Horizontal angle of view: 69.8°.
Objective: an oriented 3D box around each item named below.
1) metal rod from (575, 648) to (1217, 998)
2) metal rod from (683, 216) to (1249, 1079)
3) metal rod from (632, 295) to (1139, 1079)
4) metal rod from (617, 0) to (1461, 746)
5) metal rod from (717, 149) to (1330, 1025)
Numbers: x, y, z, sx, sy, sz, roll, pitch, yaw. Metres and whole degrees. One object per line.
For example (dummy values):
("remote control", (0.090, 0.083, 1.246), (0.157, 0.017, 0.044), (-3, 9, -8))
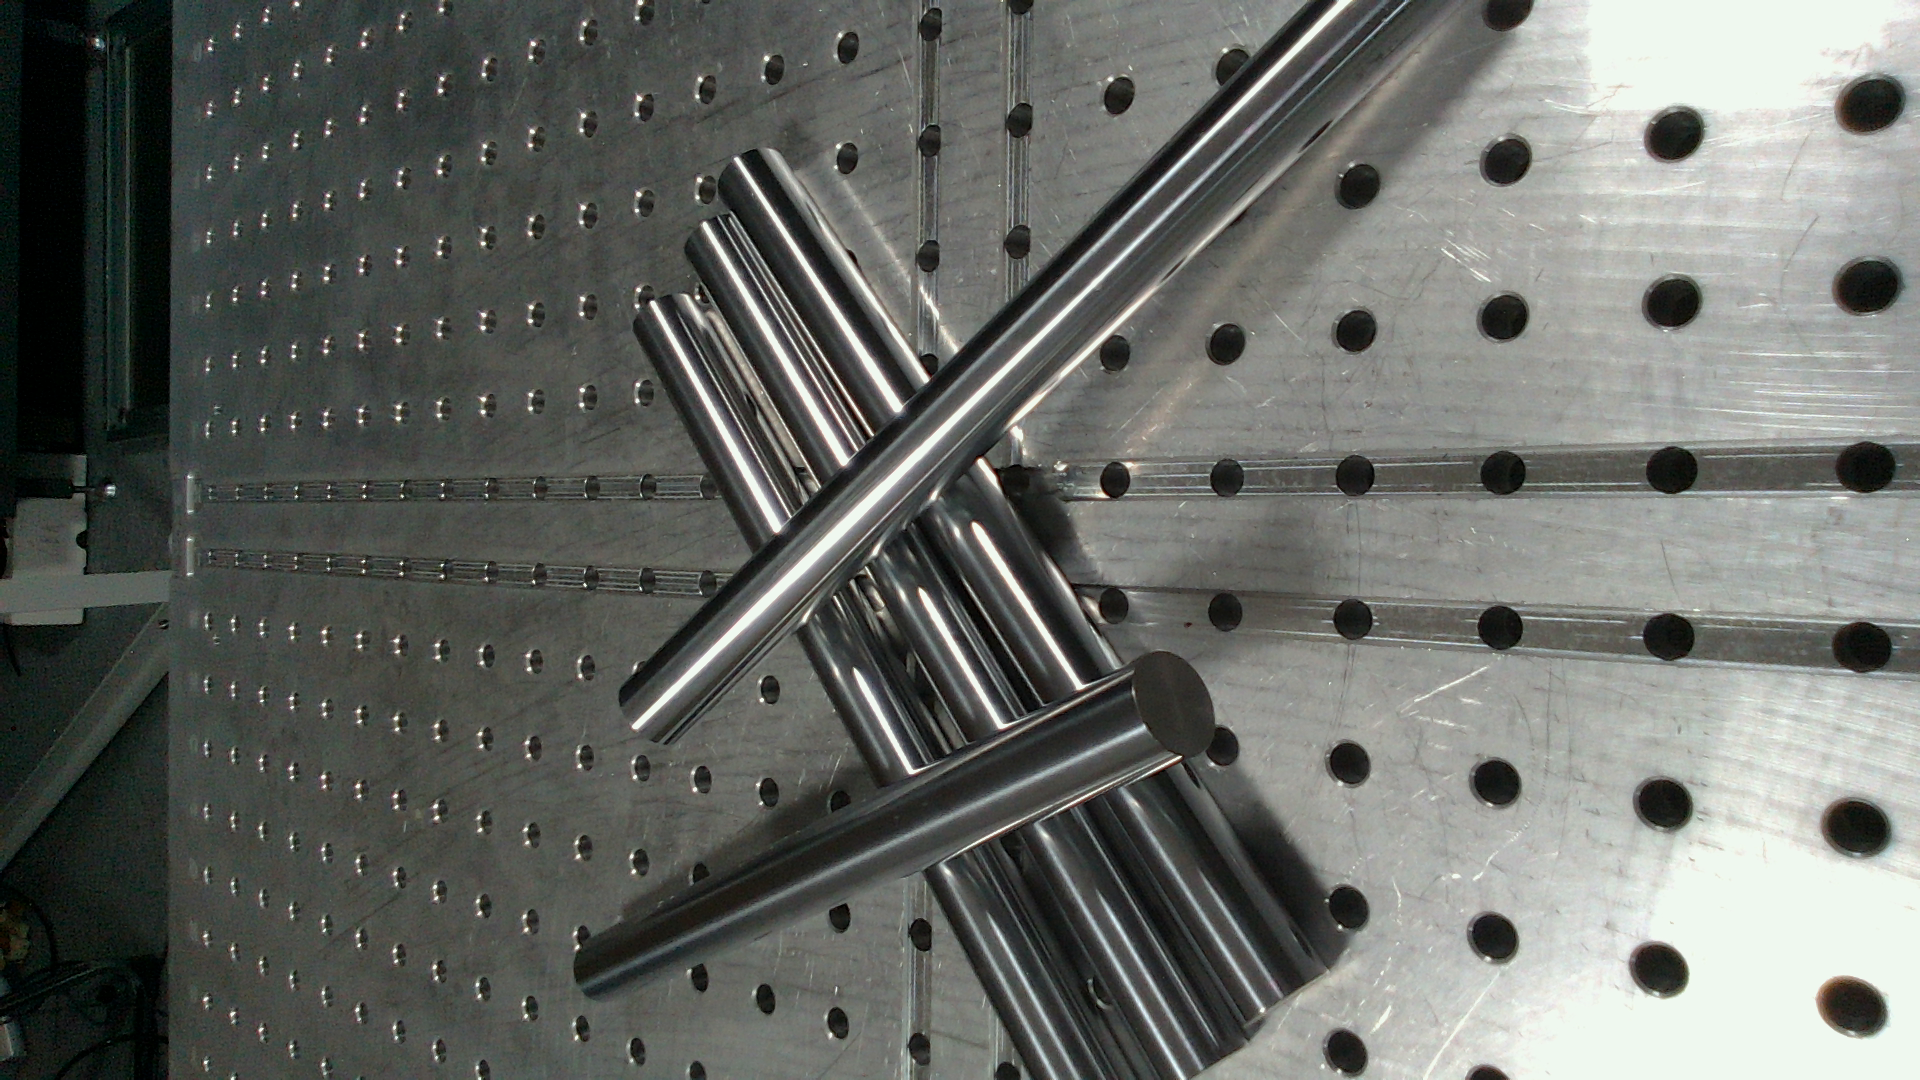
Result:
("metal rod", (-0.041, 0.096, 0.406), (0.299, 0.025, 0.025), (-34, 68, 44))
("metal rod", (-0.010, 0.016, 0.406), (0.025, 0.025, 0.300), (-47, 62, 30))
("metal rod", (-0.032, 0.039, 0.424), (0.025, 0.025, 0.300), (-47, 62, 30))
("metal rod", (0.006, -0.040, 0.366), (0.299, 0.025, 0.025), (-43, 64, 23))
("metal rod", (0.005, -0.005, 0.393), (0.025, 0.025, 0.300), (-48, 62, 30))
